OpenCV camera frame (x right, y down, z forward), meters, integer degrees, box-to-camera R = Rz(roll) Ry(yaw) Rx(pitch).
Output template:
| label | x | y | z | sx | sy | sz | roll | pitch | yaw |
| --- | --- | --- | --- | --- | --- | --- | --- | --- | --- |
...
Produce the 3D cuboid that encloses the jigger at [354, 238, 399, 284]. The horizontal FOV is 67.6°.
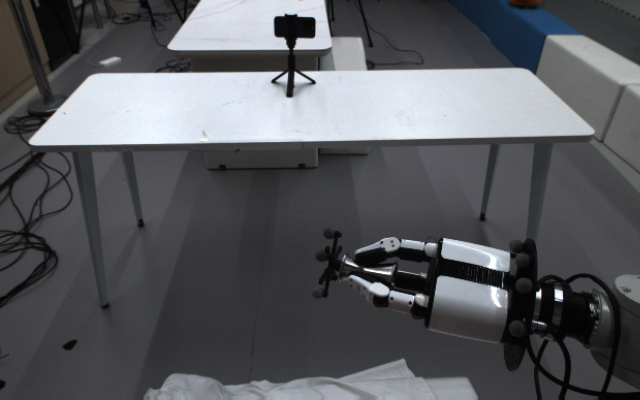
| label | x | y | z | sx | sy | sz | roll | pitch | yaw |
| --- | --- | --- | --- | --- | --- | --- | --- | --- | --- |
| jigger | 0.069 | 0.092 | 0.629 | 0.071 | 0.043 | 0.043 | 11 | 36 | 16 |
